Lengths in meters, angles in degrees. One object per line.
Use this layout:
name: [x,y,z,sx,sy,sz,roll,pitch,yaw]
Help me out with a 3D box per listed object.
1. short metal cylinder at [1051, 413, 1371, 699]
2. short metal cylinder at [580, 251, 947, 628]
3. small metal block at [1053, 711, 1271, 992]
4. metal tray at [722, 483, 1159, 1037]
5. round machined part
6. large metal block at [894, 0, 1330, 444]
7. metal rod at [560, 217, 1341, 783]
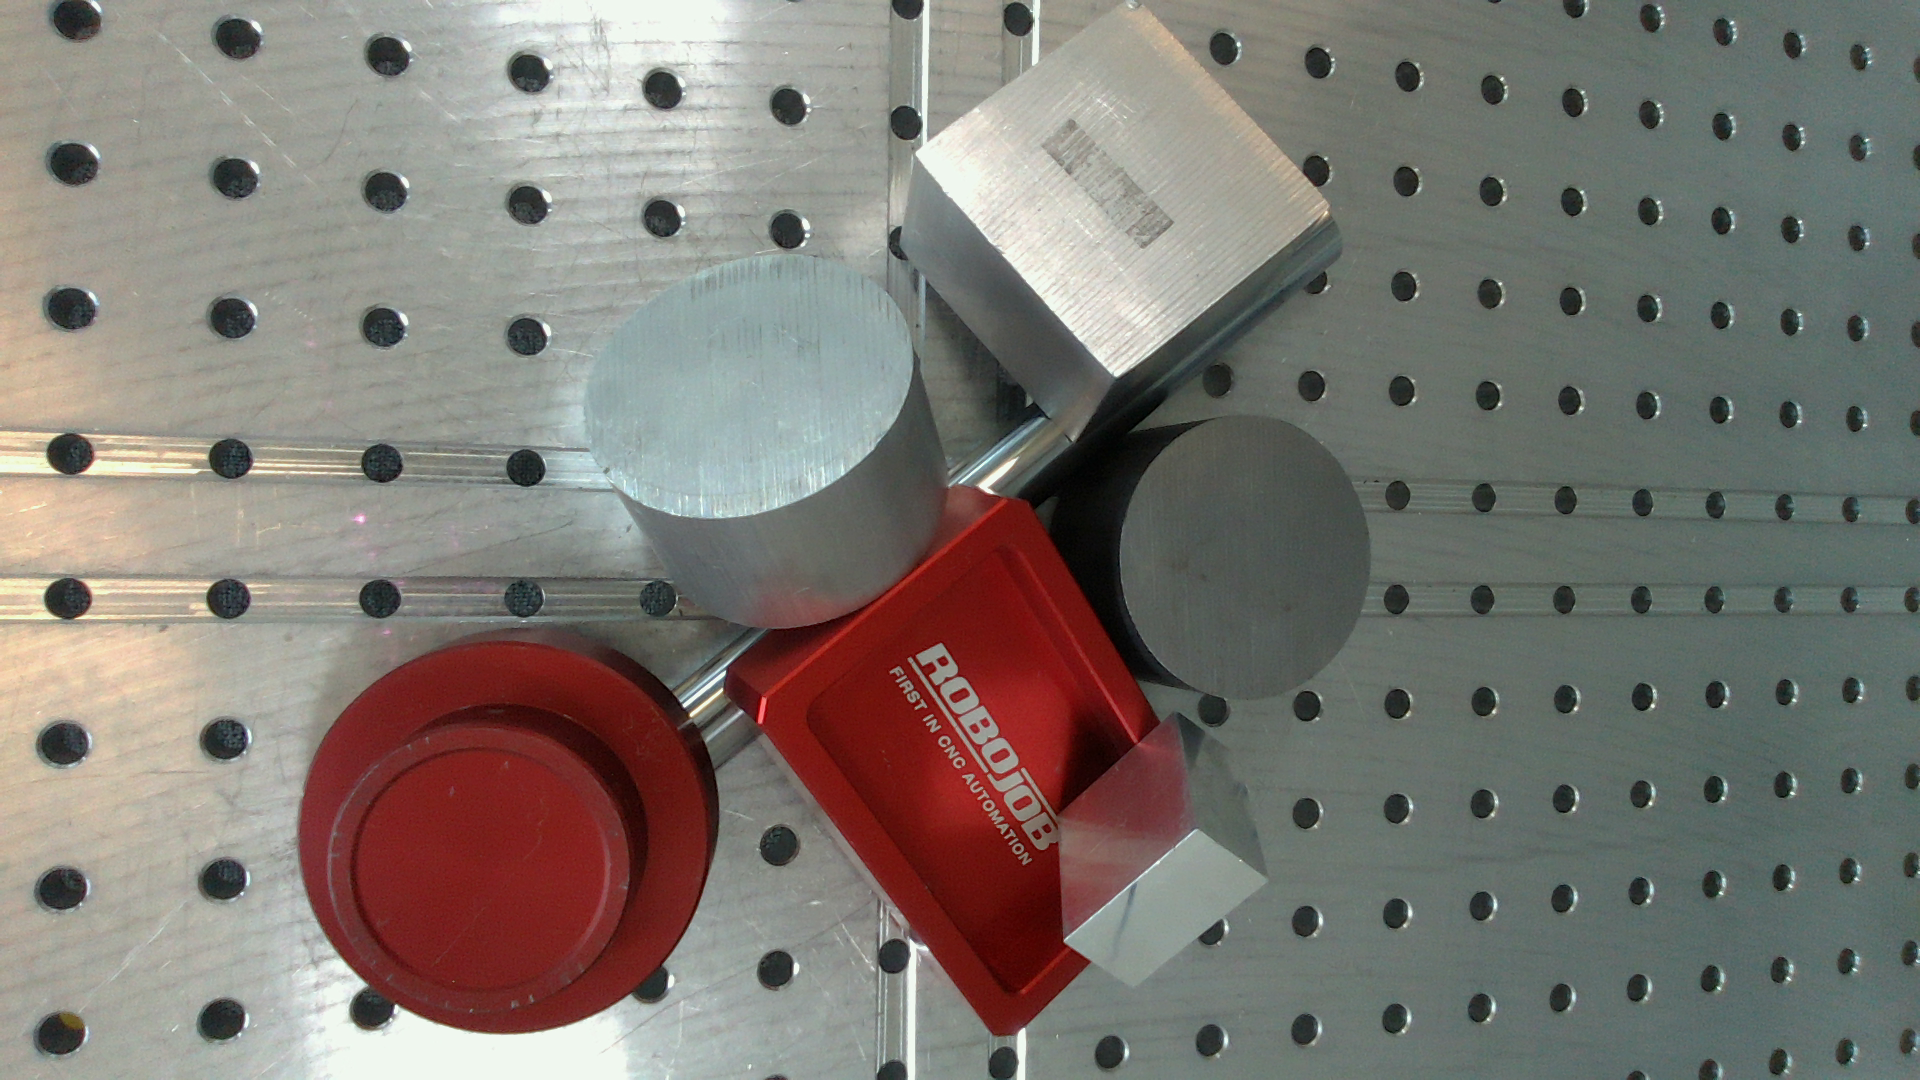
short metal cylinder: [0.073,0.005,0.409,0.080,0.050,0.080,0,90,-20]
short metal cylinder: [-0.047,-0.025,0.344,0.080,0.050,0.080,-5,57,8]
small metal block: [0.052,0.083,0.371,0.025,0.050,0.050,36,114,-18]
metal tray: [0.008,0.061,0.381,0.090,0.030,0.130,-39,115,-15]
round machined part: [-0.111,0.073,0.333,0.098,0.042,0.098,0,96,-4]
large metal block: [0.040,-0.088,0.385,0.080,0.050,0.080,-39,83,-16]
metal rod: [-0.001,-0.006,0.397,0.301,0.025,0.025,-39,103,-15]
